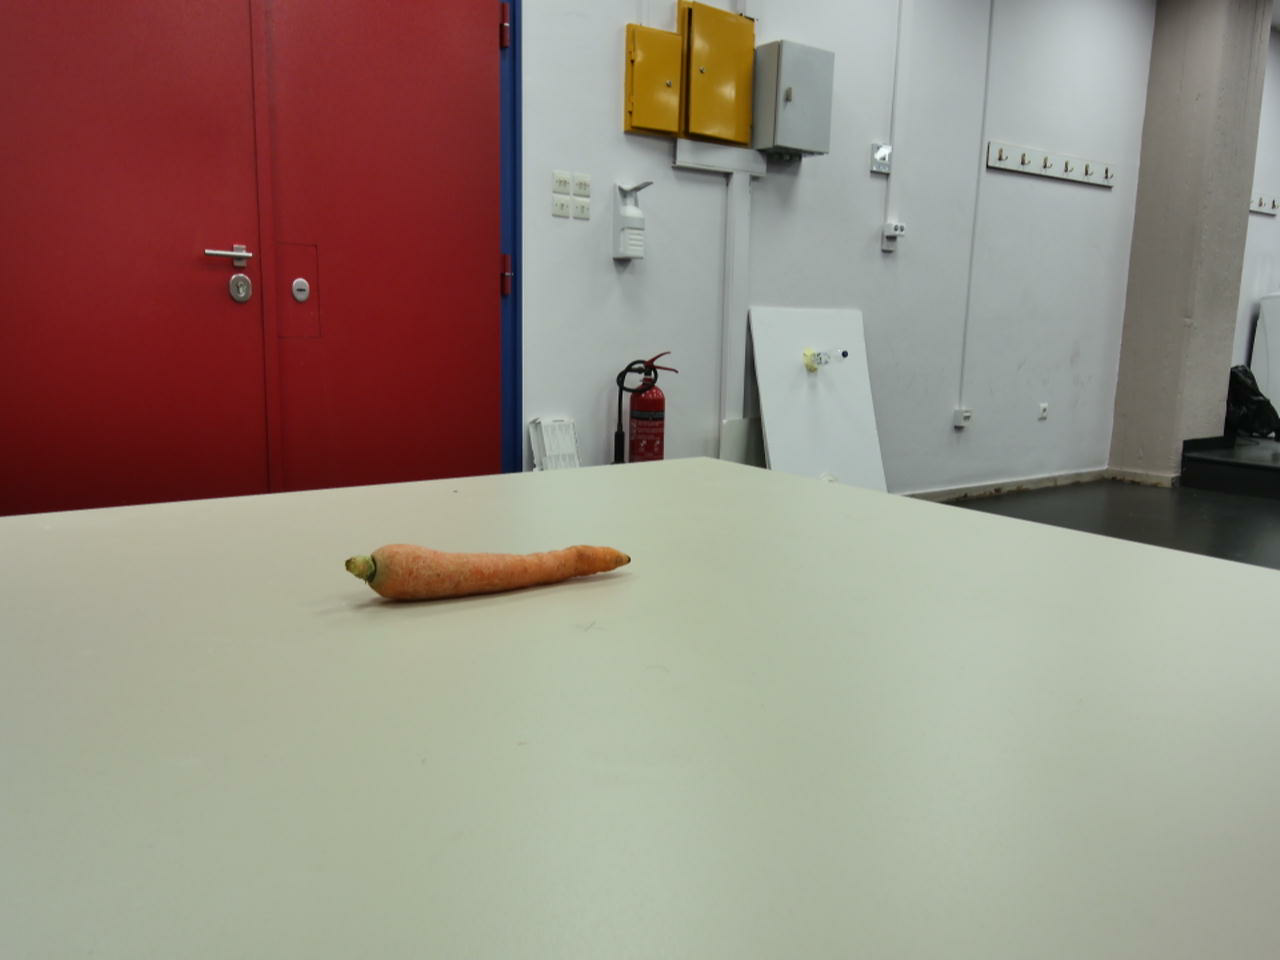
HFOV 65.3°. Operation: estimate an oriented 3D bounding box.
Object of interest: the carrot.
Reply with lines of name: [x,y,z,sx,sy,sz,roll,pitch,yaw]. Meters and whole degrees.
carrot: [-0.080,0.048,0.572,0.173,0.032,0.030,-3,8,-27]
